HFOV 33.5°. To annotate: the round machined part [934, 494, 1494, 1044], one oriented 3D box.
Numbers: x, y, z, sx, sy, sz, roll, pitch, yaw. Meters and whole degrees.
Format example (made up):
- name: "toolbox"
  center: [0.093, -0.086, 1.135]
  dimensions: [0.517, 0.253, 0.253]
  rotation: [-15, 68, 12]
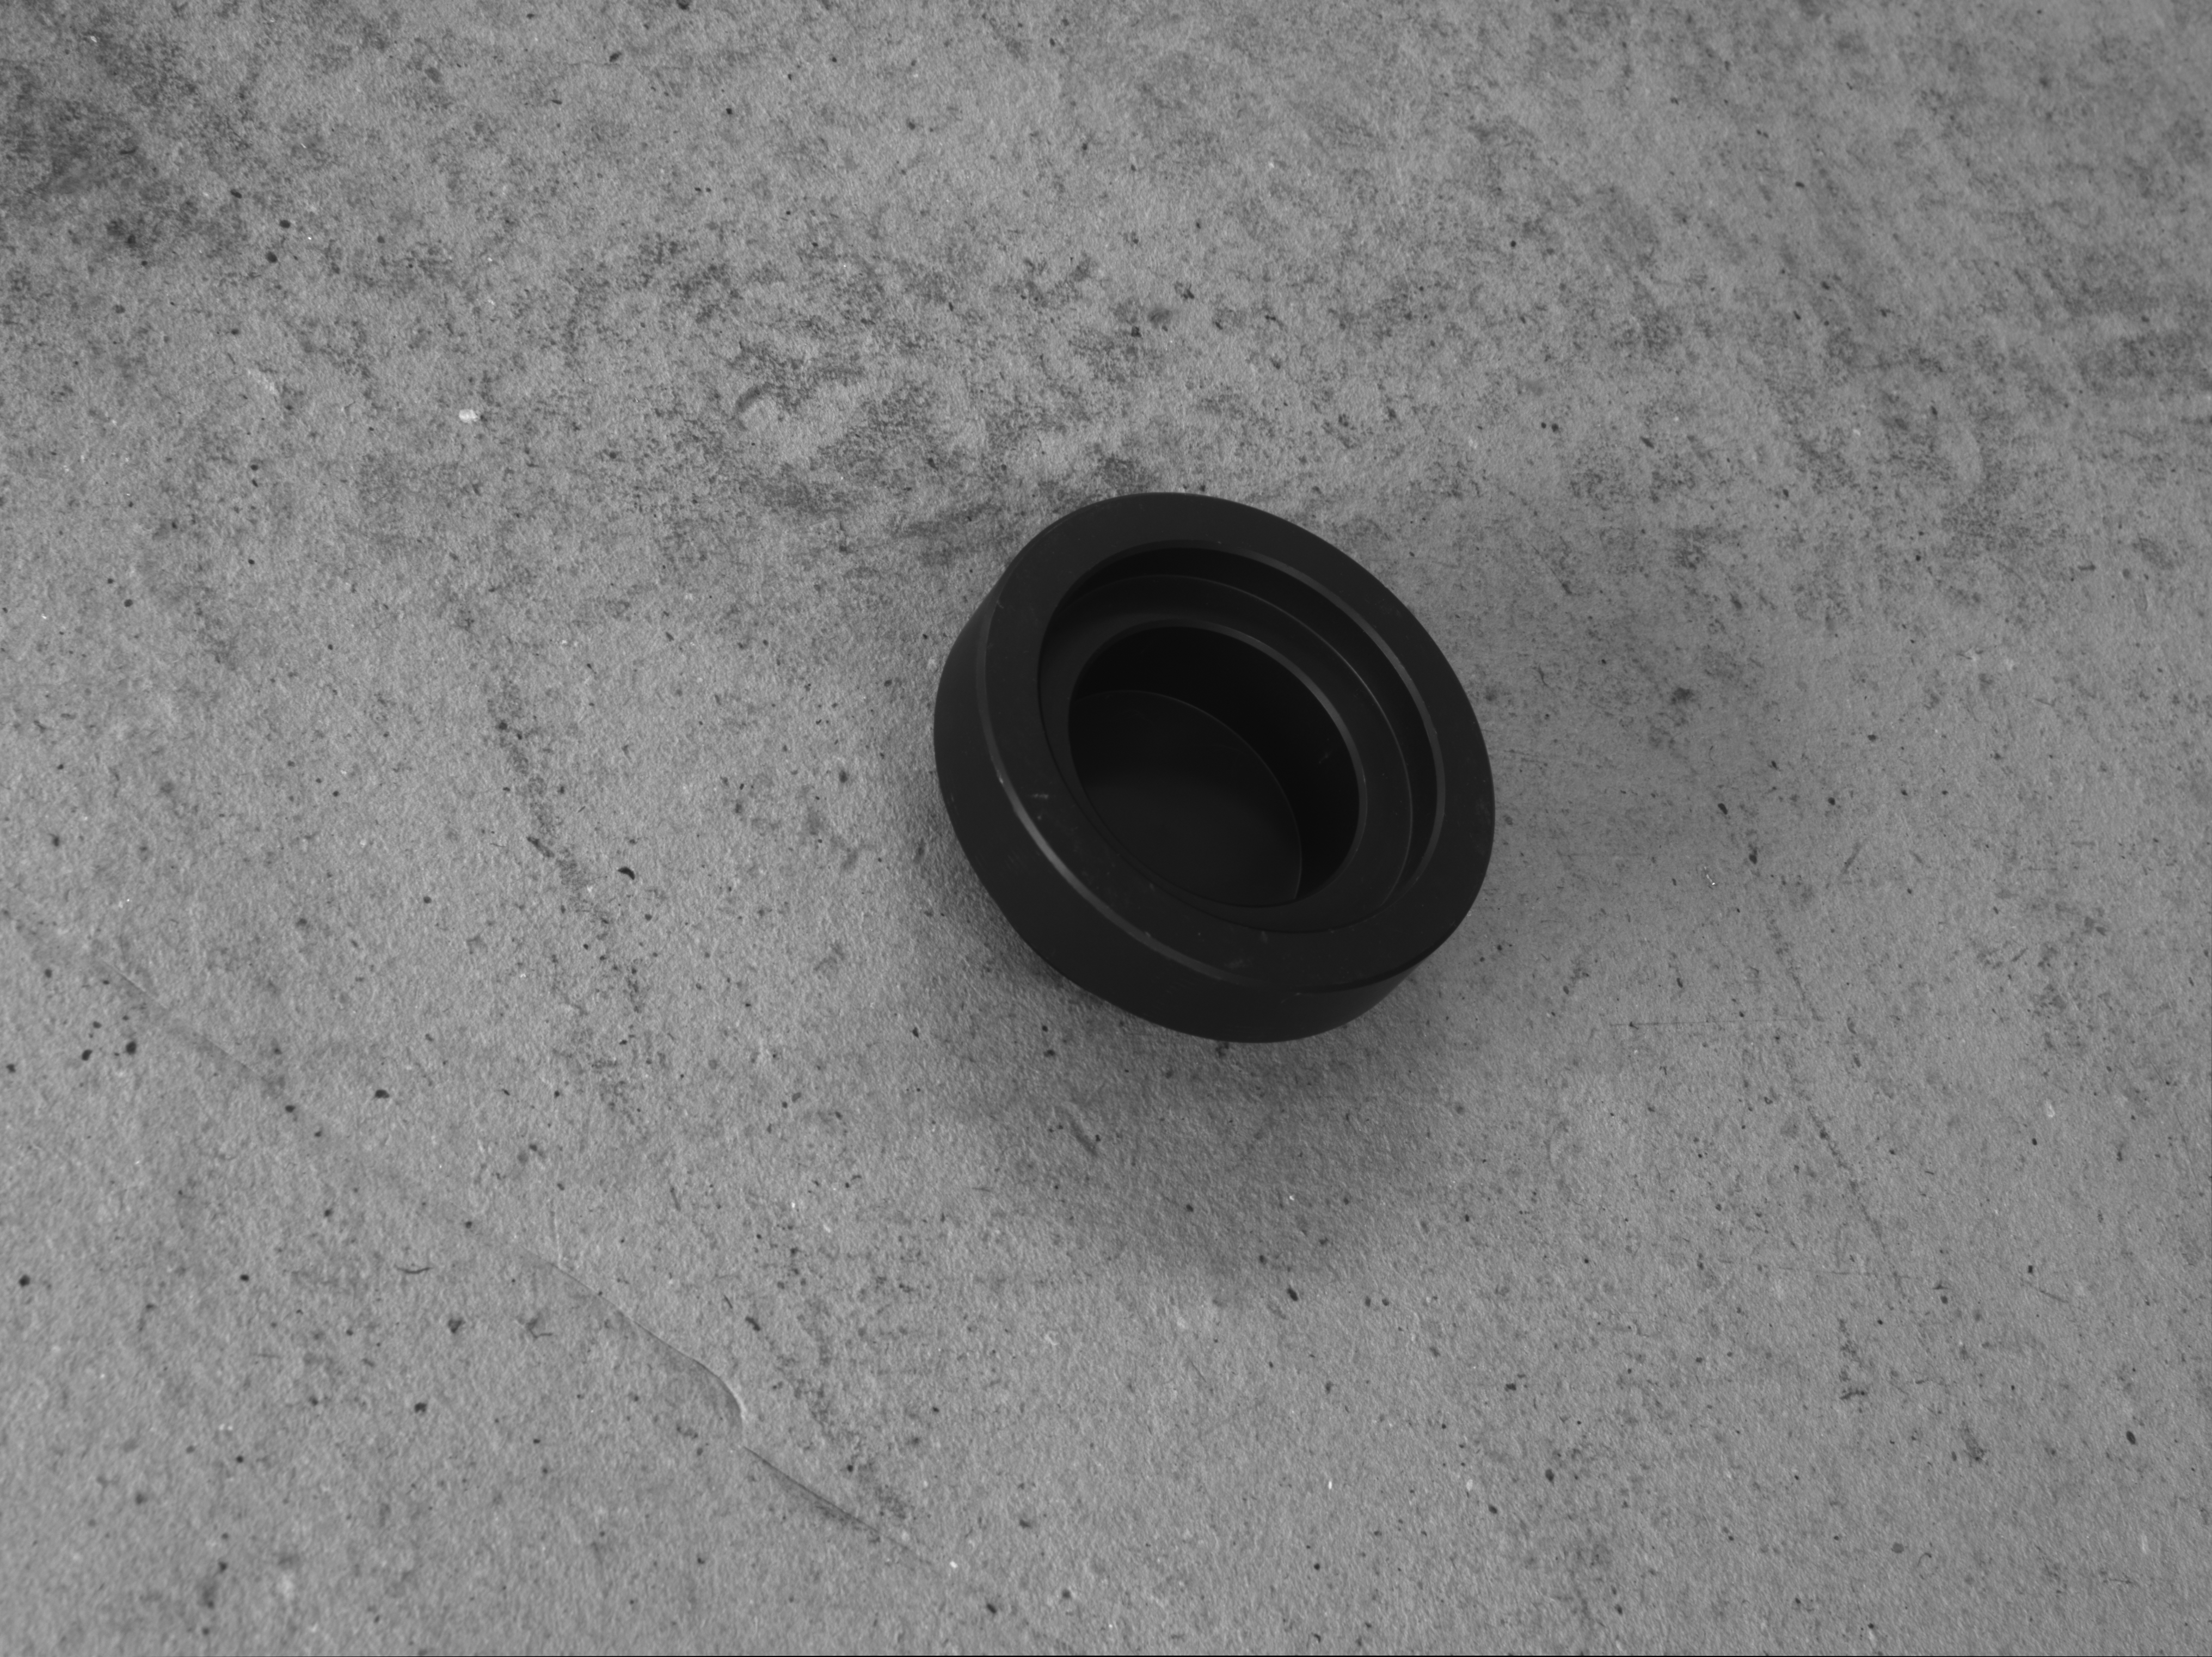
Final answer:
- name: "round machined part"
  center: [0.015, -0.006, 0.641]
  dimensions: [0.098, 0.042, 0.098]
  rotation: [13, 56, -21]
